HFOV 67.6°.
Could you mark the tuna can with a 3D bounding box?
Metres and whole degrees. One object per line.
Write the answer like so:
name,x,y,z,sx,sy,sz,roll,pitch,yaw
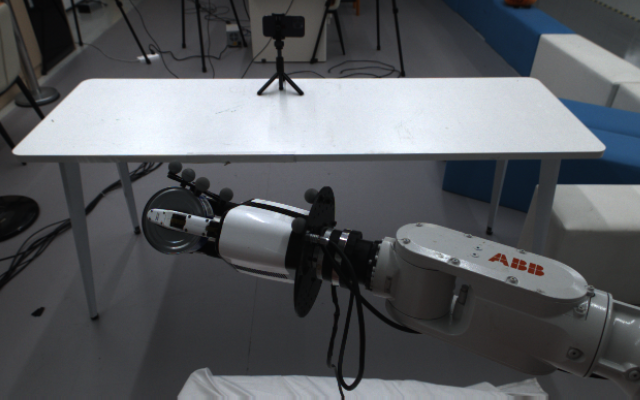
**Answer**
tuna can,-0.179,0.028,0.619,0.085,0.085,0.034,9,-4,11
